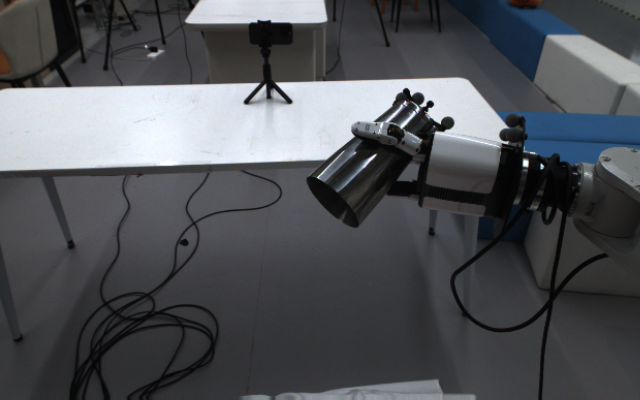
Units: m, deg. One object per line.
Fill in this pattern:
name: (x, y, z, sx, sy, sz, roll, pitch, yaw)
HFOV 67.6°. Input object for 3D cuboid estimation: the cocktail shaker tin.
cocktail shaker tin: (0.074, -0.059, 0.646, 0.170, 0.093, 0.093, -44, 51, -14)
